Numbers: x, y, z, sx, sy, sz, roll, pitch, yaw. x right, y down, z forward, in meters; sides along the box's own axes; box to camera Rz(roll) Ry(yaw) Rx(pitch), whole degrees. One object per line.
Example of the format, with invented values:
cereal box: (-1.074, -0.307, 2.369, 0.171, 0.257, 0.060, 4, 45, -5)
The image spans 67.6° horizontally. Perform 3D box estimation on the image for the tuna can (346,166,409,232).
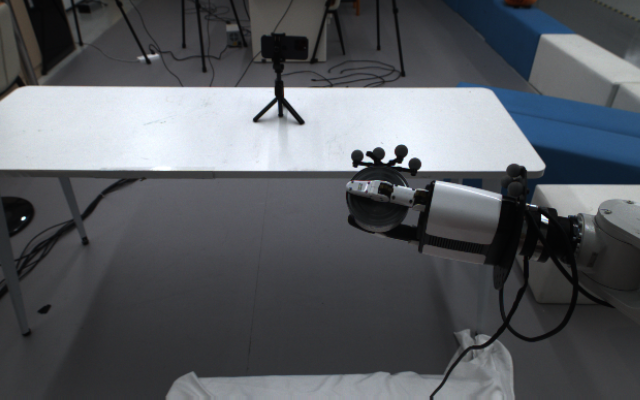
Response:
tuna can: (0.079, -0.005, 0.648, 0.085, 0.034, 0.085, -3, 68, 7)
